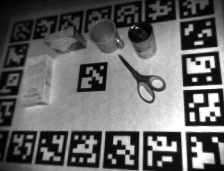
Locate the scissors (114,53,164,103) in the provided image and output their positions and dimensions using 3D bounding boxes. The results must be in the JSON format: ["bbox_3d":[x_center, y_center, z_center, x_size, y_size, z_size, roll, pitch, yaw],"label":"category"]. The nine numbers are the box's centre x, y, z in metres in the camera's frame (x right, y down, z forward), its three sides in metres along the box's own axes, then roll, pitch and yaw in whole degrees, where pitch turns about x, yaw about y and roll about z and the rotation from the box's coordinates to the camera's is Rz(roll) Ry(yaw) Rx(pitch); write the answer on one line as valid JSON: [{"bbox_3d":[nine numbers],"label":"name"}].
[{"bbox_3d":[0.072,-0.040,0.668,0.087,0.016,0.201,-47,66,10],"label":"scissors"}]

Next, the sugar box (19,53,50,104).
[{"bbox_3d":[-0.274,-0.026,0.767,0.092,0.046,0.176,-7,73,18],"label":"sugar box"}]

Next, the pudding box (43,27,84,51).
[{"bbox_3d":[-0.165,-0.164,0.742,0.113,0.091,0.038,-13,76,14],"label":"pudding box"}]

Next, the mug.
[{"bbox_3d":[-0.021,-0.172,0.706,0.093,0.082,0.116,-39,64,6],"label":"mug"}]

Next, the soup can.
[{"bbox_3d":[0.086,-0.143,0.658,0.067,0.103,0.067,-6,70,18],"label":"soup can"}]
